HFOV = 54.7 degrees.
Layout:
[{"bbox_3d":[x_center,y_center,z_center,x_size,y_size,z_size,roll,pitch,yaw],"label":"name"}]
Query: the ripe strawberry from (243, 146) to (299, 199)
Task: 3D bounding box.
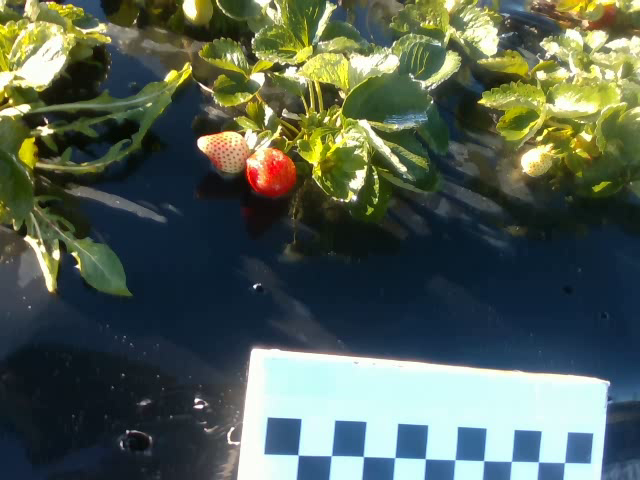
[{"bbox_3d":[-0.034,-0.046,0.425,0.040,0.038,0.055,-10,4,10],"label":"ripe strawberry"}]
